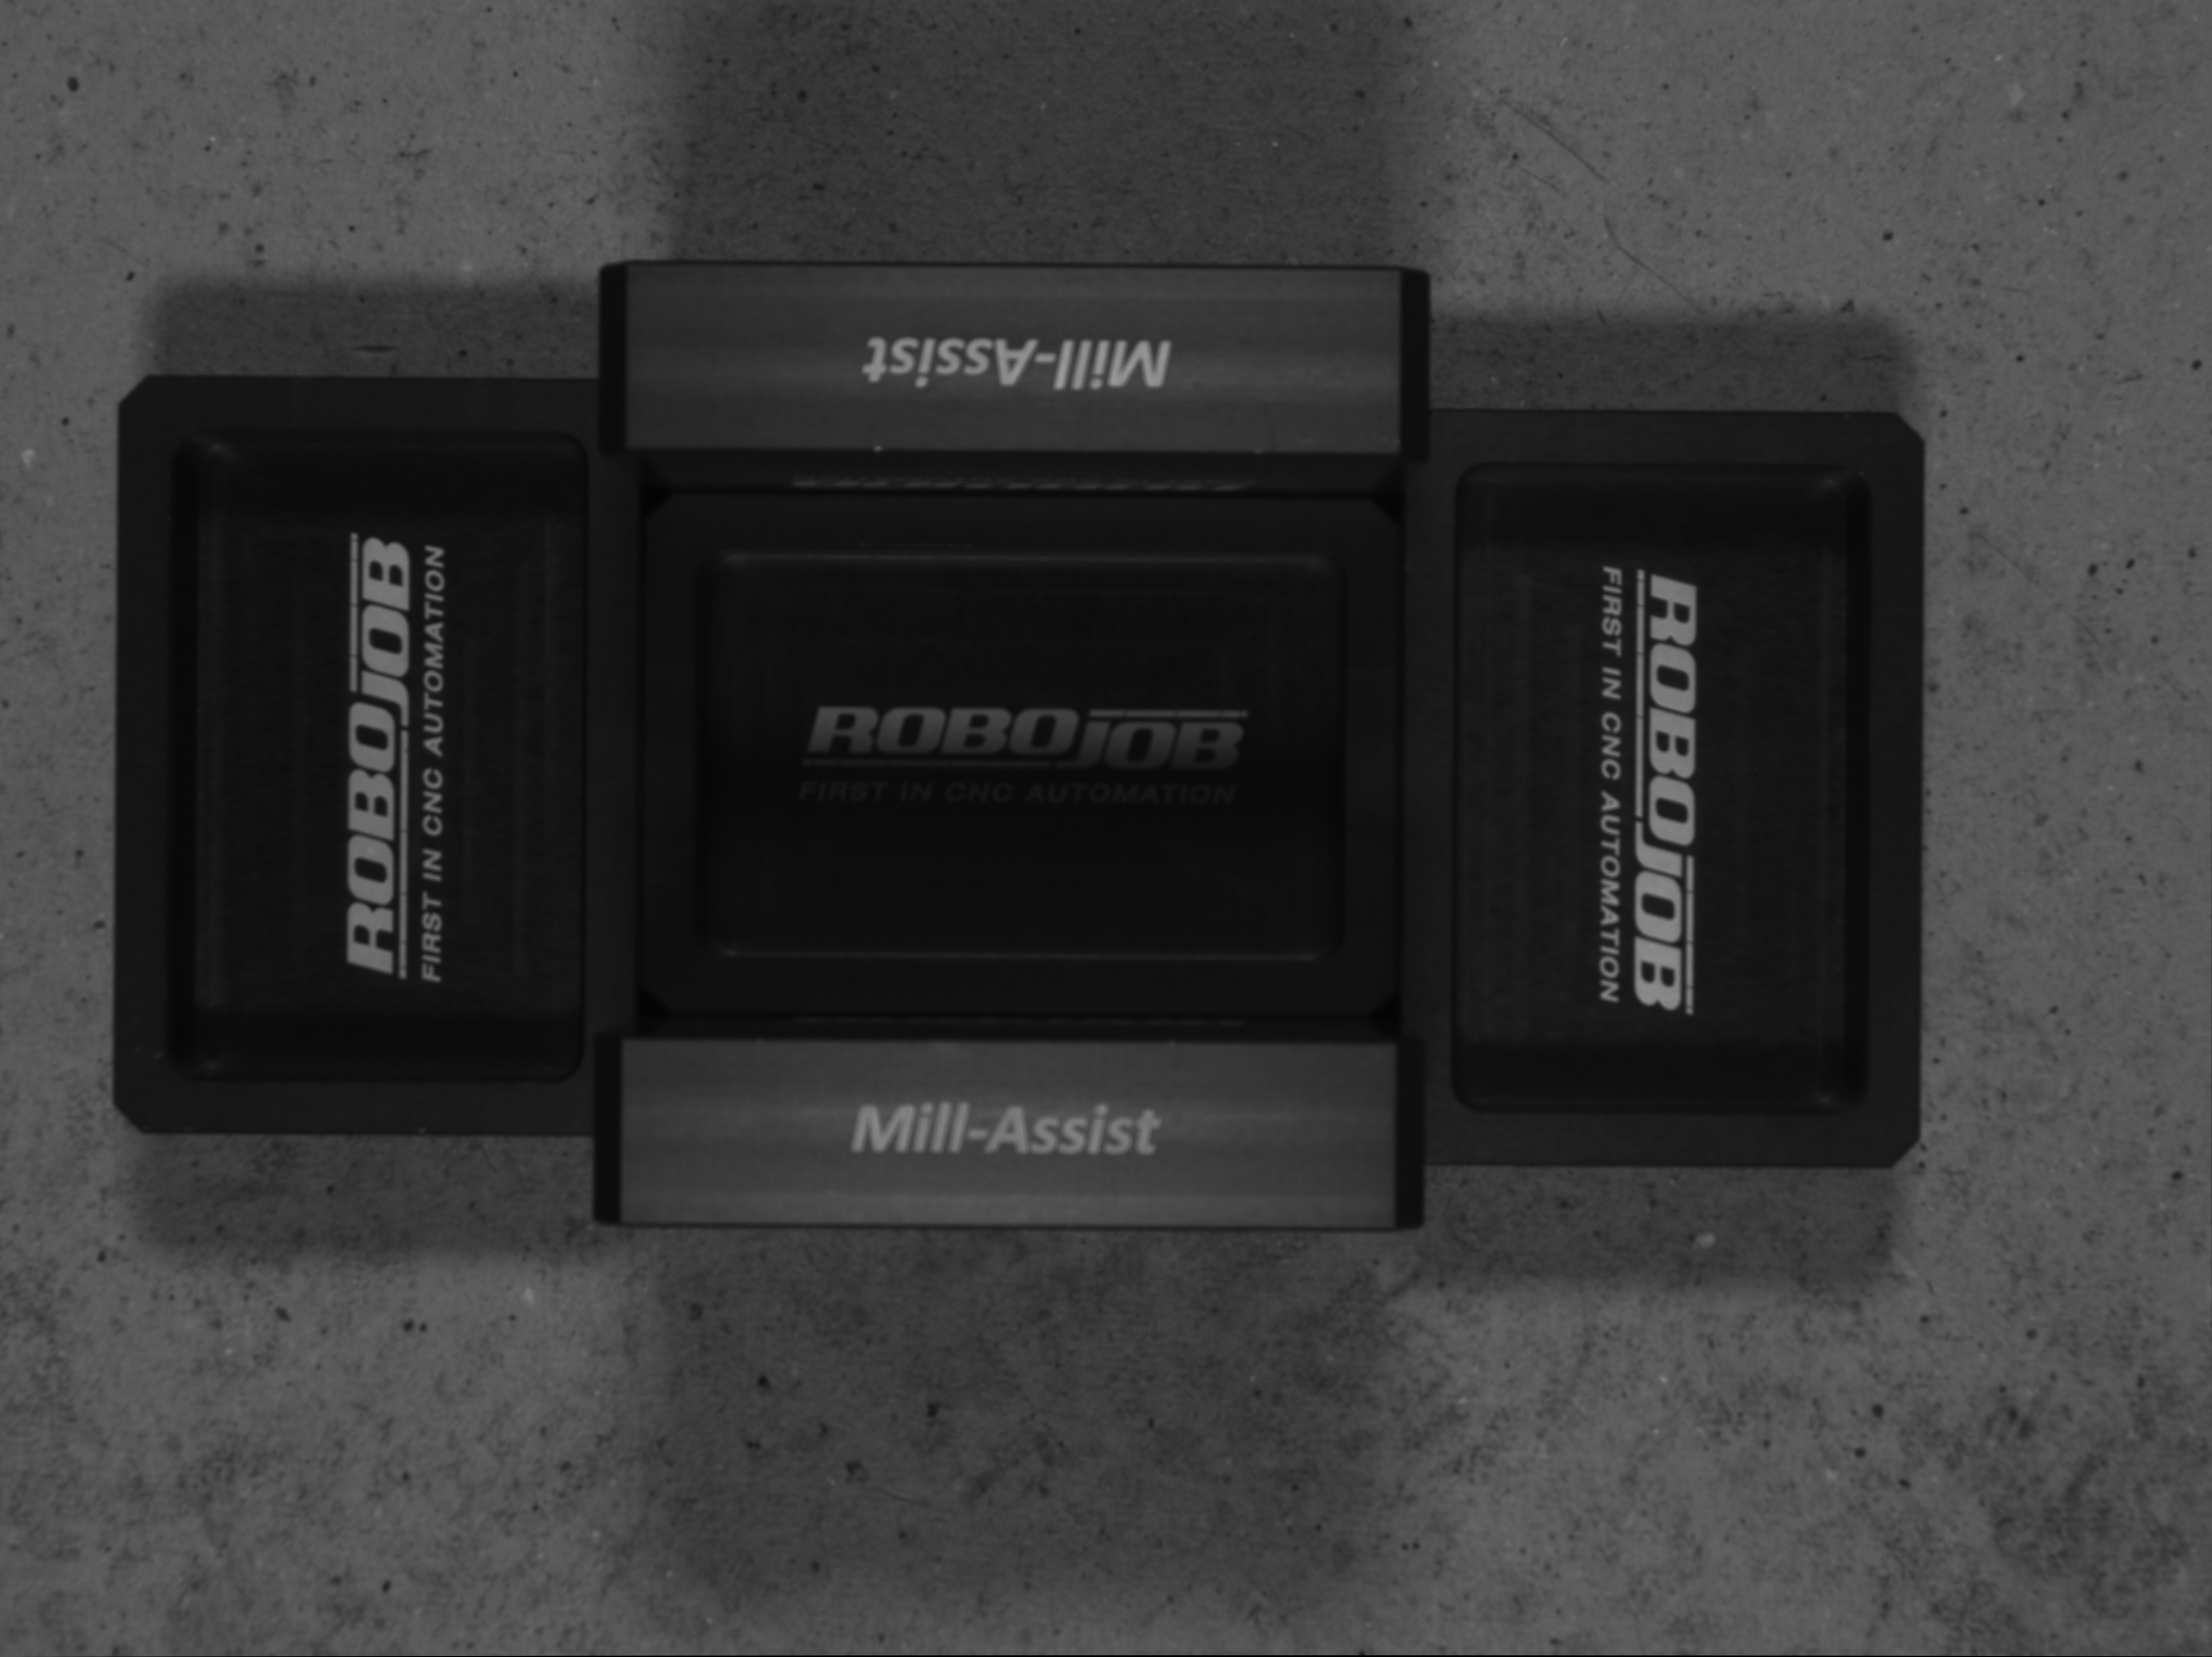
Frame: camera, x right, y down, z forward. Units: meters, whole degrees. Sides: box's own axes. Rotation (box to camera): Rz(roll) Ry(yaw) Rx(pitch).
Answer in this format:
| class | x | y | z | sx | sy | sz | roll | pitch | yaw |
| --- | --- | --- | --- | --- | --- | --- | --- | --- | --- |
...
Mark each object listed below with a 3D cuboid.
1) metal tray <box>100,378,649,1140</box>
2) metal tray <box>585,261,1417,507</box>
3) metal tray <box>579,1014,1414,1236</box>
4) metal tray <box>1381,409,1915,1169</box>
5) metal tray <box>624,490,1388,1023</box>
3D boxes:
| class | x | y | z | sx | sy | sz | roll | pitch | yaw |
| --- | --- | --- | --- | --- | --- | --- | --- | --- | --- |
| metal tray | -0.127 | -0.012 | 0.641 | 0.090 | 0.030 | 0.130 | 1 | 90 | -1 |
| metal tray | -0.017 | -0.073 | 0.613 | 0.130 | 0.090 | 0.030 | 0 | 90 | 0 |
| metal tray | -0.017 | 0.048 | 0.611 | 0.130 | 0.090 | 0.030 | 0 | 90 | 0 |
| metal tray | 0.094 | -0.007 | 0.644 | 0.090 | 0.030 | 0.130 | 1 | 90 | -1 |
| metal tray | -0.017 | -0.012 | 0.643 | 0.130 | 0.030 | 0.090 | 1 | 90 | -1 |
